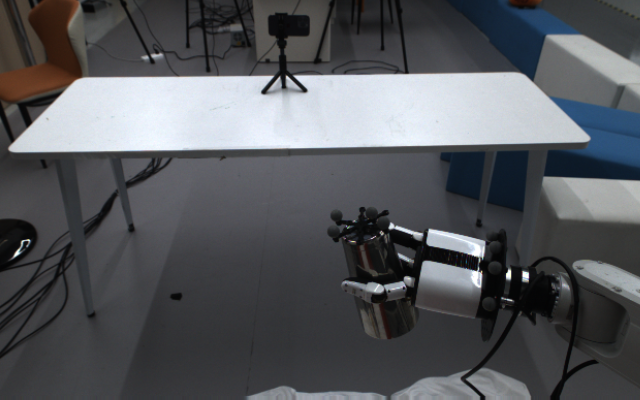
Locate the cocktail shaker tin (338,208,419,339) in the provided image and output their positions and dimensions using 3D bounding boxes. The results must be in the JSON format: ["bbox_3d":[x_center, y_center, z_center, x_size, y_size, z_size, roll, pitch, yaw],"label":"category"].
[{"bbox_3d":[0.085,0.112,0.714,0.093,0.170,0.093,-15,28,8],"label":"cocktail shaker tin"}]
